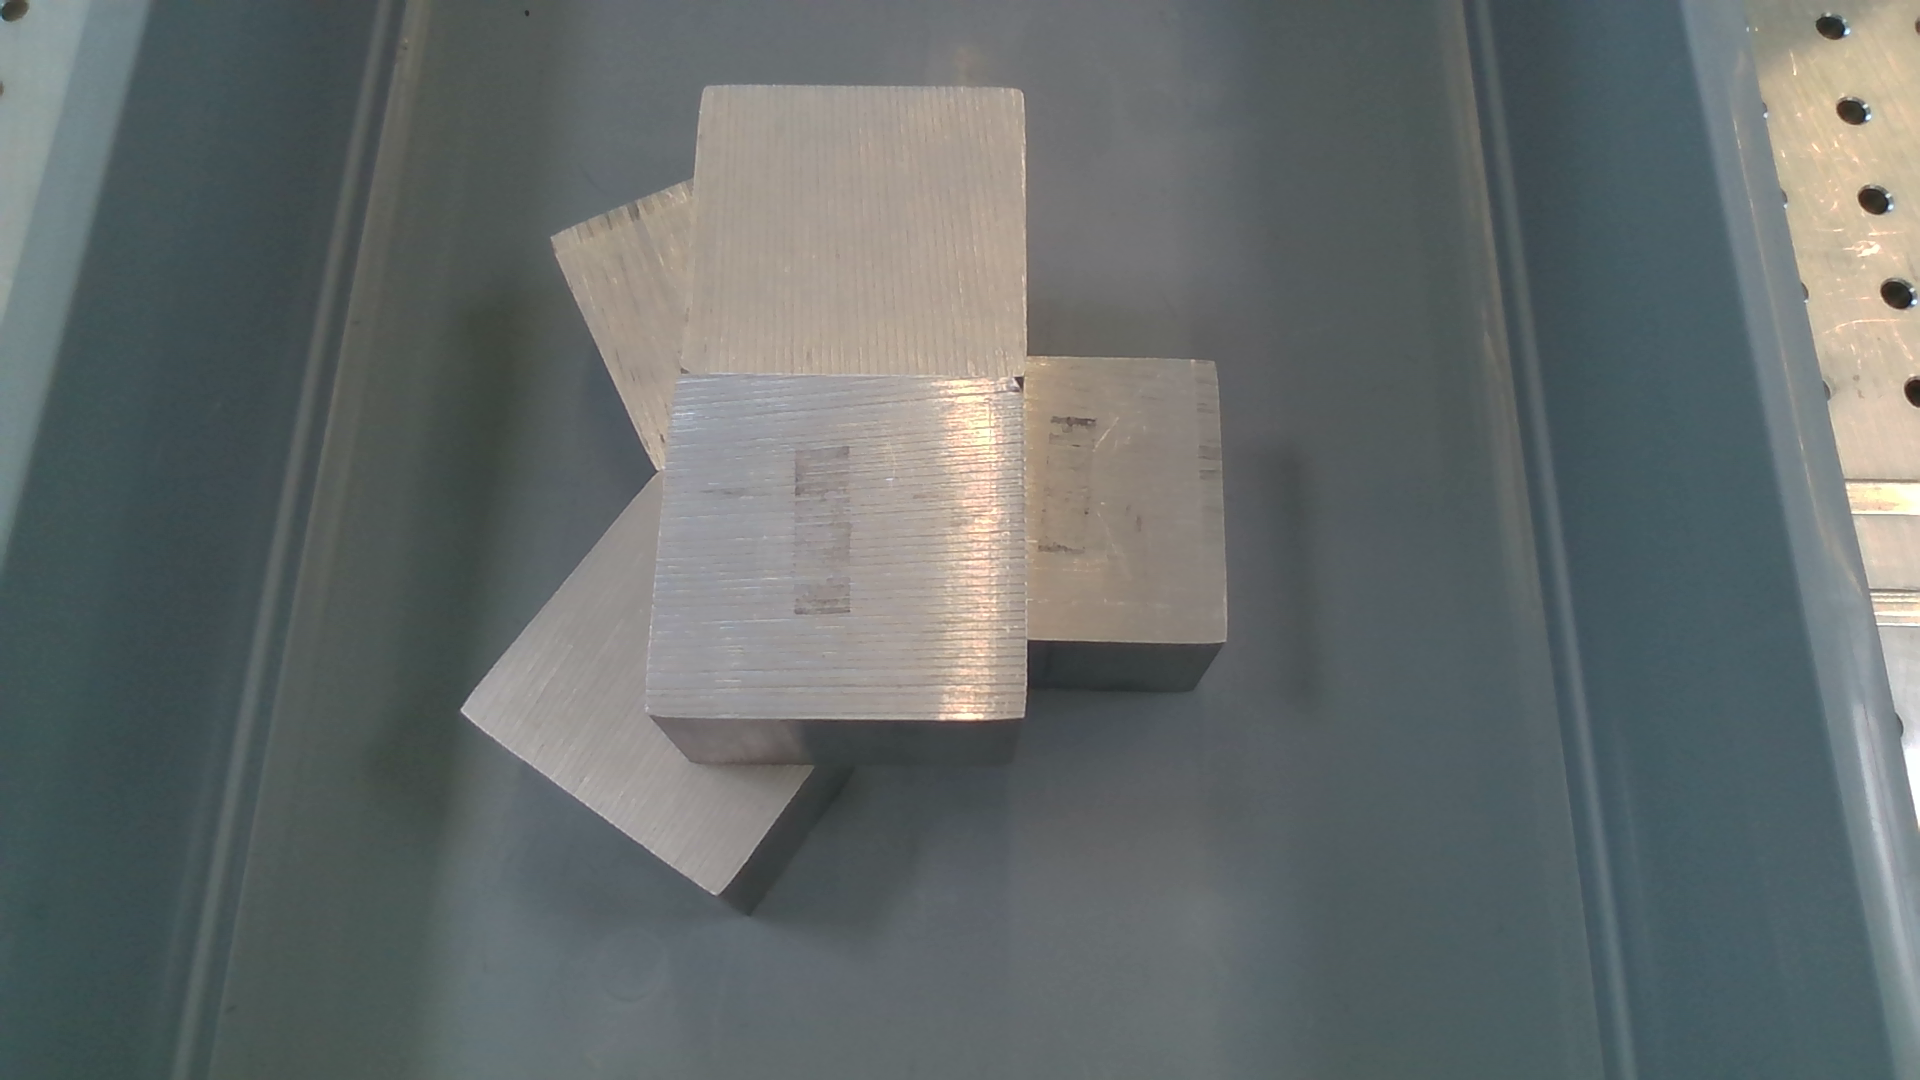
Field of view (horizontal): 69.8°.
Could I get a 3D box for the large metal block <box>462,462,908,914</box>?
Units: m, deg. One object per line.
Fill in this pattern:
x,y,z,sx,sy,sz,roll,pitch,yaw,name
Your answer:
-0.067,0.040,0.366,0.080,0.050,0.080,32,73,11,large metal block

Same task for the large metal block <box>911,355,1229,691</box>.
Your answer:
0.029,-0.004,0.383,0.080,0.050,0.080,1,70,1,large metal block

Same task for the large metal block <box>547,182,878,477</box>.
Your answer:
-0.062,-0.059,0.402,0.080,0.050,0.080,-25,72,-8,large metal block

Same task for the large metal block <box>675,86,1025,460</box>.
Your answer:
-0.025,-0.066,0.351,0.080,0.050,0.080,1,70,0,large metal block

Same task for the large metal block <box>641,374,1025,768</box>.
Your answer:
-0.026,0.009,0.323,0.080,0.050,0.080,1,70,0,large metal block
